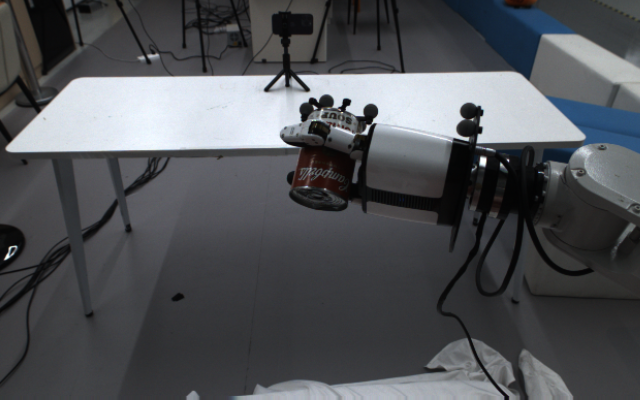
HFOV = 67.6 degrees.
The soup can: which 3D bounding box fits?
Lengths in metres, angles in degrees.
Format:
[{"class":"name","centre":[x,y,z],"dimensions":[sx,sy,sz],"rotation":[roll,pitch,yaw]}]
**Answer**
[{"class":"soup can","centre":[0.009,-0.046,0.552],"dimensions":[0.067,0.067,0.101],"rotation":[9,69,10]}]
